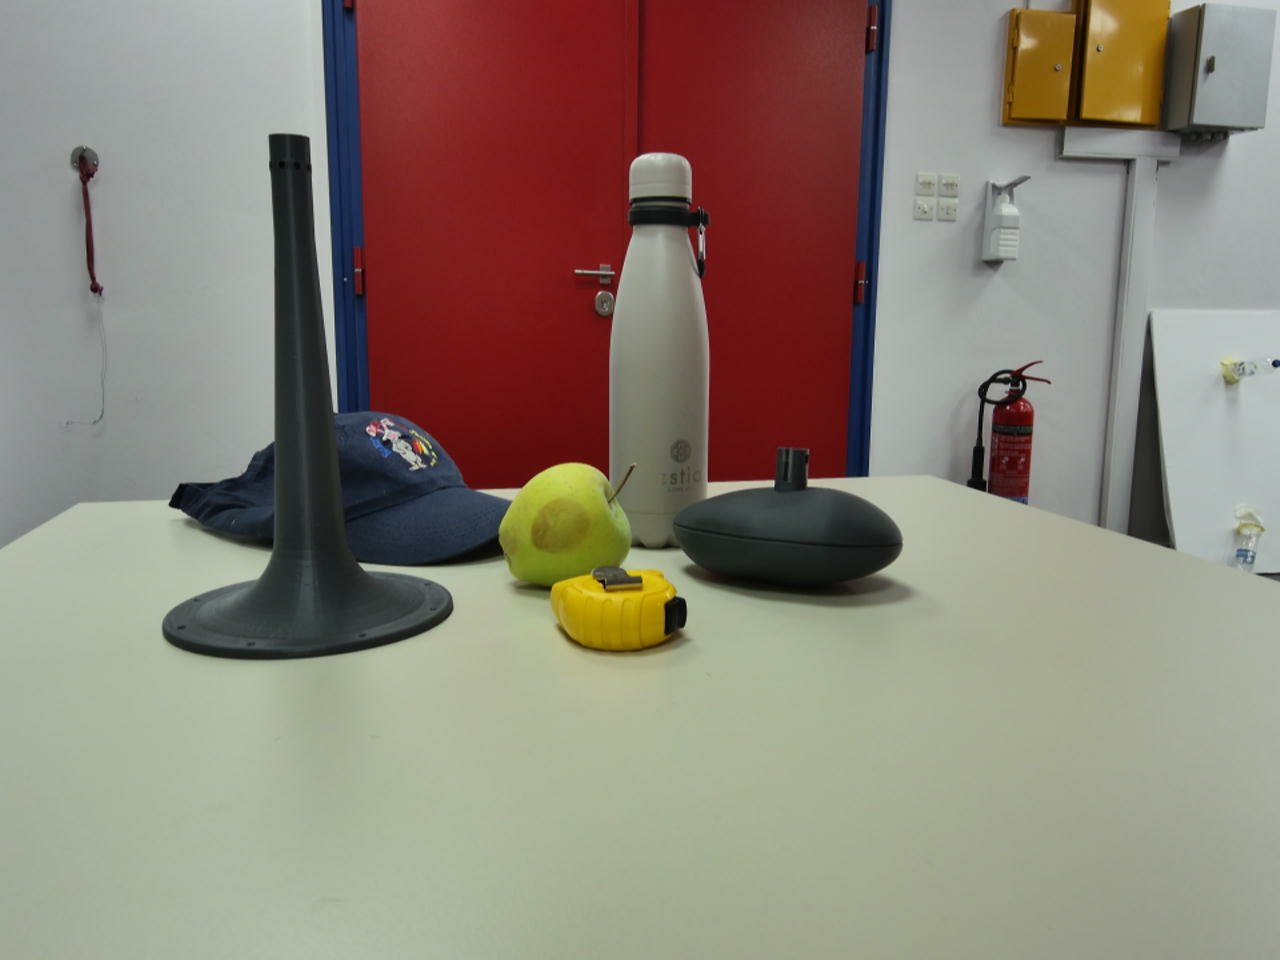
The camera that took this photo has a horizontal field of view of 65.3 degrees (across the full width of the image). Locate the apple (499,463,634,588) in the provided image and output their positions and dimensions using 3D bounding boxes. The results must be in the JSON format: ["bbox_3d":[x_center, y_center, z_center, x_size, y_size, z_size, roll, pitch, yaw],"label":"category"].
[{"bbox_3d":[-0.044,0.027,0.608,0.077,0.075,0.072,6,9,31],"label":"apple"}]
